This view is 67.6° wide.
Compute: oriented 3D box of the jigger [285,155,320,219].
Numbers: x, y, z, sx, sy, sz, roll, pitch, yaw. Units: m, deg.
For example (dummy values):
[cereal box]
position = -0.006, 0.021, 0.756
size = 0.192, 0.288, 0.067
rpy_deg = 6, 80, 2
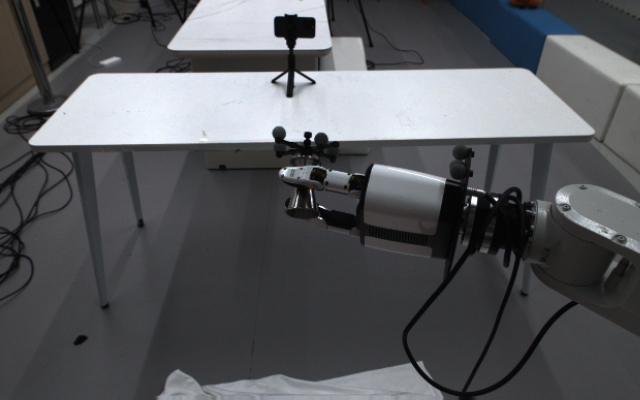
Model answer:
[jigger]
position = -0.020, -0.017, 0.590
size = 0.043, 0.043, 0.071
rpy_deg = 3, 72, 1
